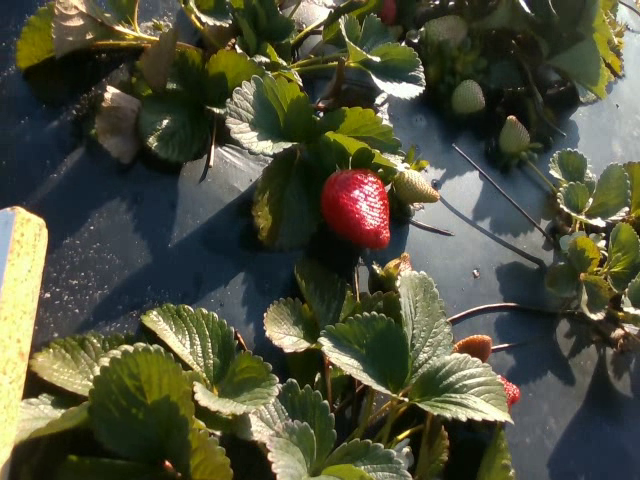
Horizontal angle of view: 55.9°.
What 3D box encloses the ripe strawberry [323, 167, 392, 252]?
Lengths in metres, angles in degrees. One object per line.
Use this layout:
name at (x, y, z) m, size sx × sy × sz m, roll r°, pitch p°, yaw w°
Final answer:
ripe strawberry at (0.026, -0.017, 0.380) m, size 0.056 × 0.072 × 0.055 m, roll -35°, pitch -42°, yaw 10°
